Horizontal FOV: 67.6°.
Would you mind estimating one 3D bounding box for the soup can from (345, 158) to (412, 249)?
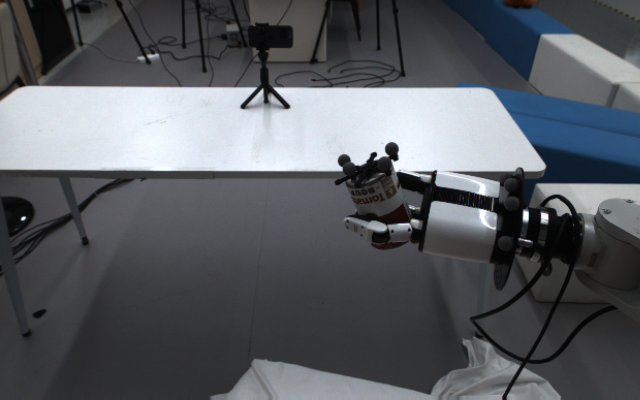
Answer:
[{"bbox_3d":[0.084,0.005,0.647,0.067,0.101,0.067,-21,24,10],"label":"soup can"}]
